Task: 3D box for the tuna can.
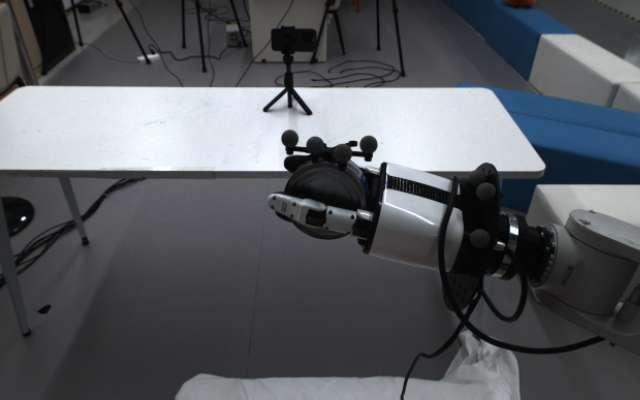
[{"bbox_3d":[0.009,-0.005,0.506,0.085,0.085,0.034,9,23,10],"label":"tuna can"}]
